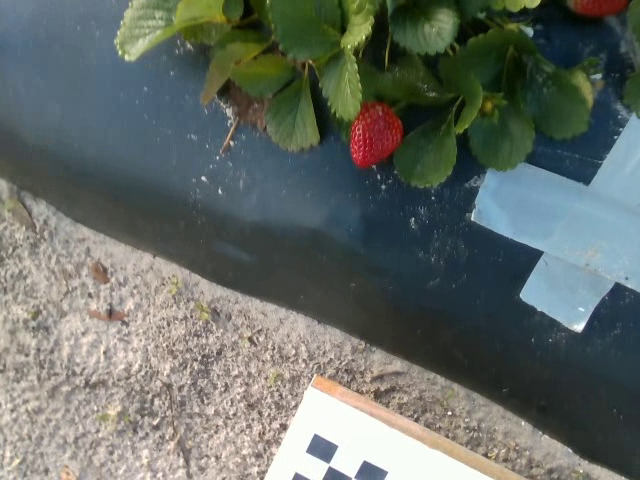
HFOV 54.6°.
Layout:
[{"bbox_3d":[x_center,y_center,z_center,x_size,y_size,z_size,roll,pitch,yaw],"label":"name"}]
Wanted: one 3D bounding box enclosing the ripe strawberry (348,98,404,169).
[{"bbox_3d":[0.016,-0.033,0.195,0.018,0.023,0.020,24,-4,25],"label":"ripe strawberry"}]
